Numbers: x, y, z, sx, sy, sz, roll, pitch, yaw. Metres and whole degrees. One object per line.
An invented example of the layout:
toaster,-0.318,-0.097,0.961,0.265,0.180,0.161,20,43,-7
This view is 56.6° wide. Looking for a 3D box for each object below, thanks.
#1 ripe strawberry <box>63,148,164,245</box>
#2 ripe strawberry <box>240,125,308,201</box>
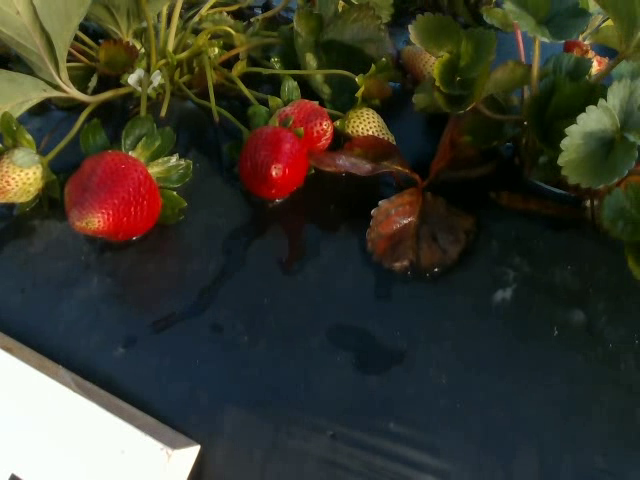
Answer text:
ripe strawberry,-0.108,-0.020,0.291,0.050,0.050,0.065,-21,16,14
ripe strawberry,-0.026,-0.038,0.312,0.045,0.042,0.055,-43,17,5
